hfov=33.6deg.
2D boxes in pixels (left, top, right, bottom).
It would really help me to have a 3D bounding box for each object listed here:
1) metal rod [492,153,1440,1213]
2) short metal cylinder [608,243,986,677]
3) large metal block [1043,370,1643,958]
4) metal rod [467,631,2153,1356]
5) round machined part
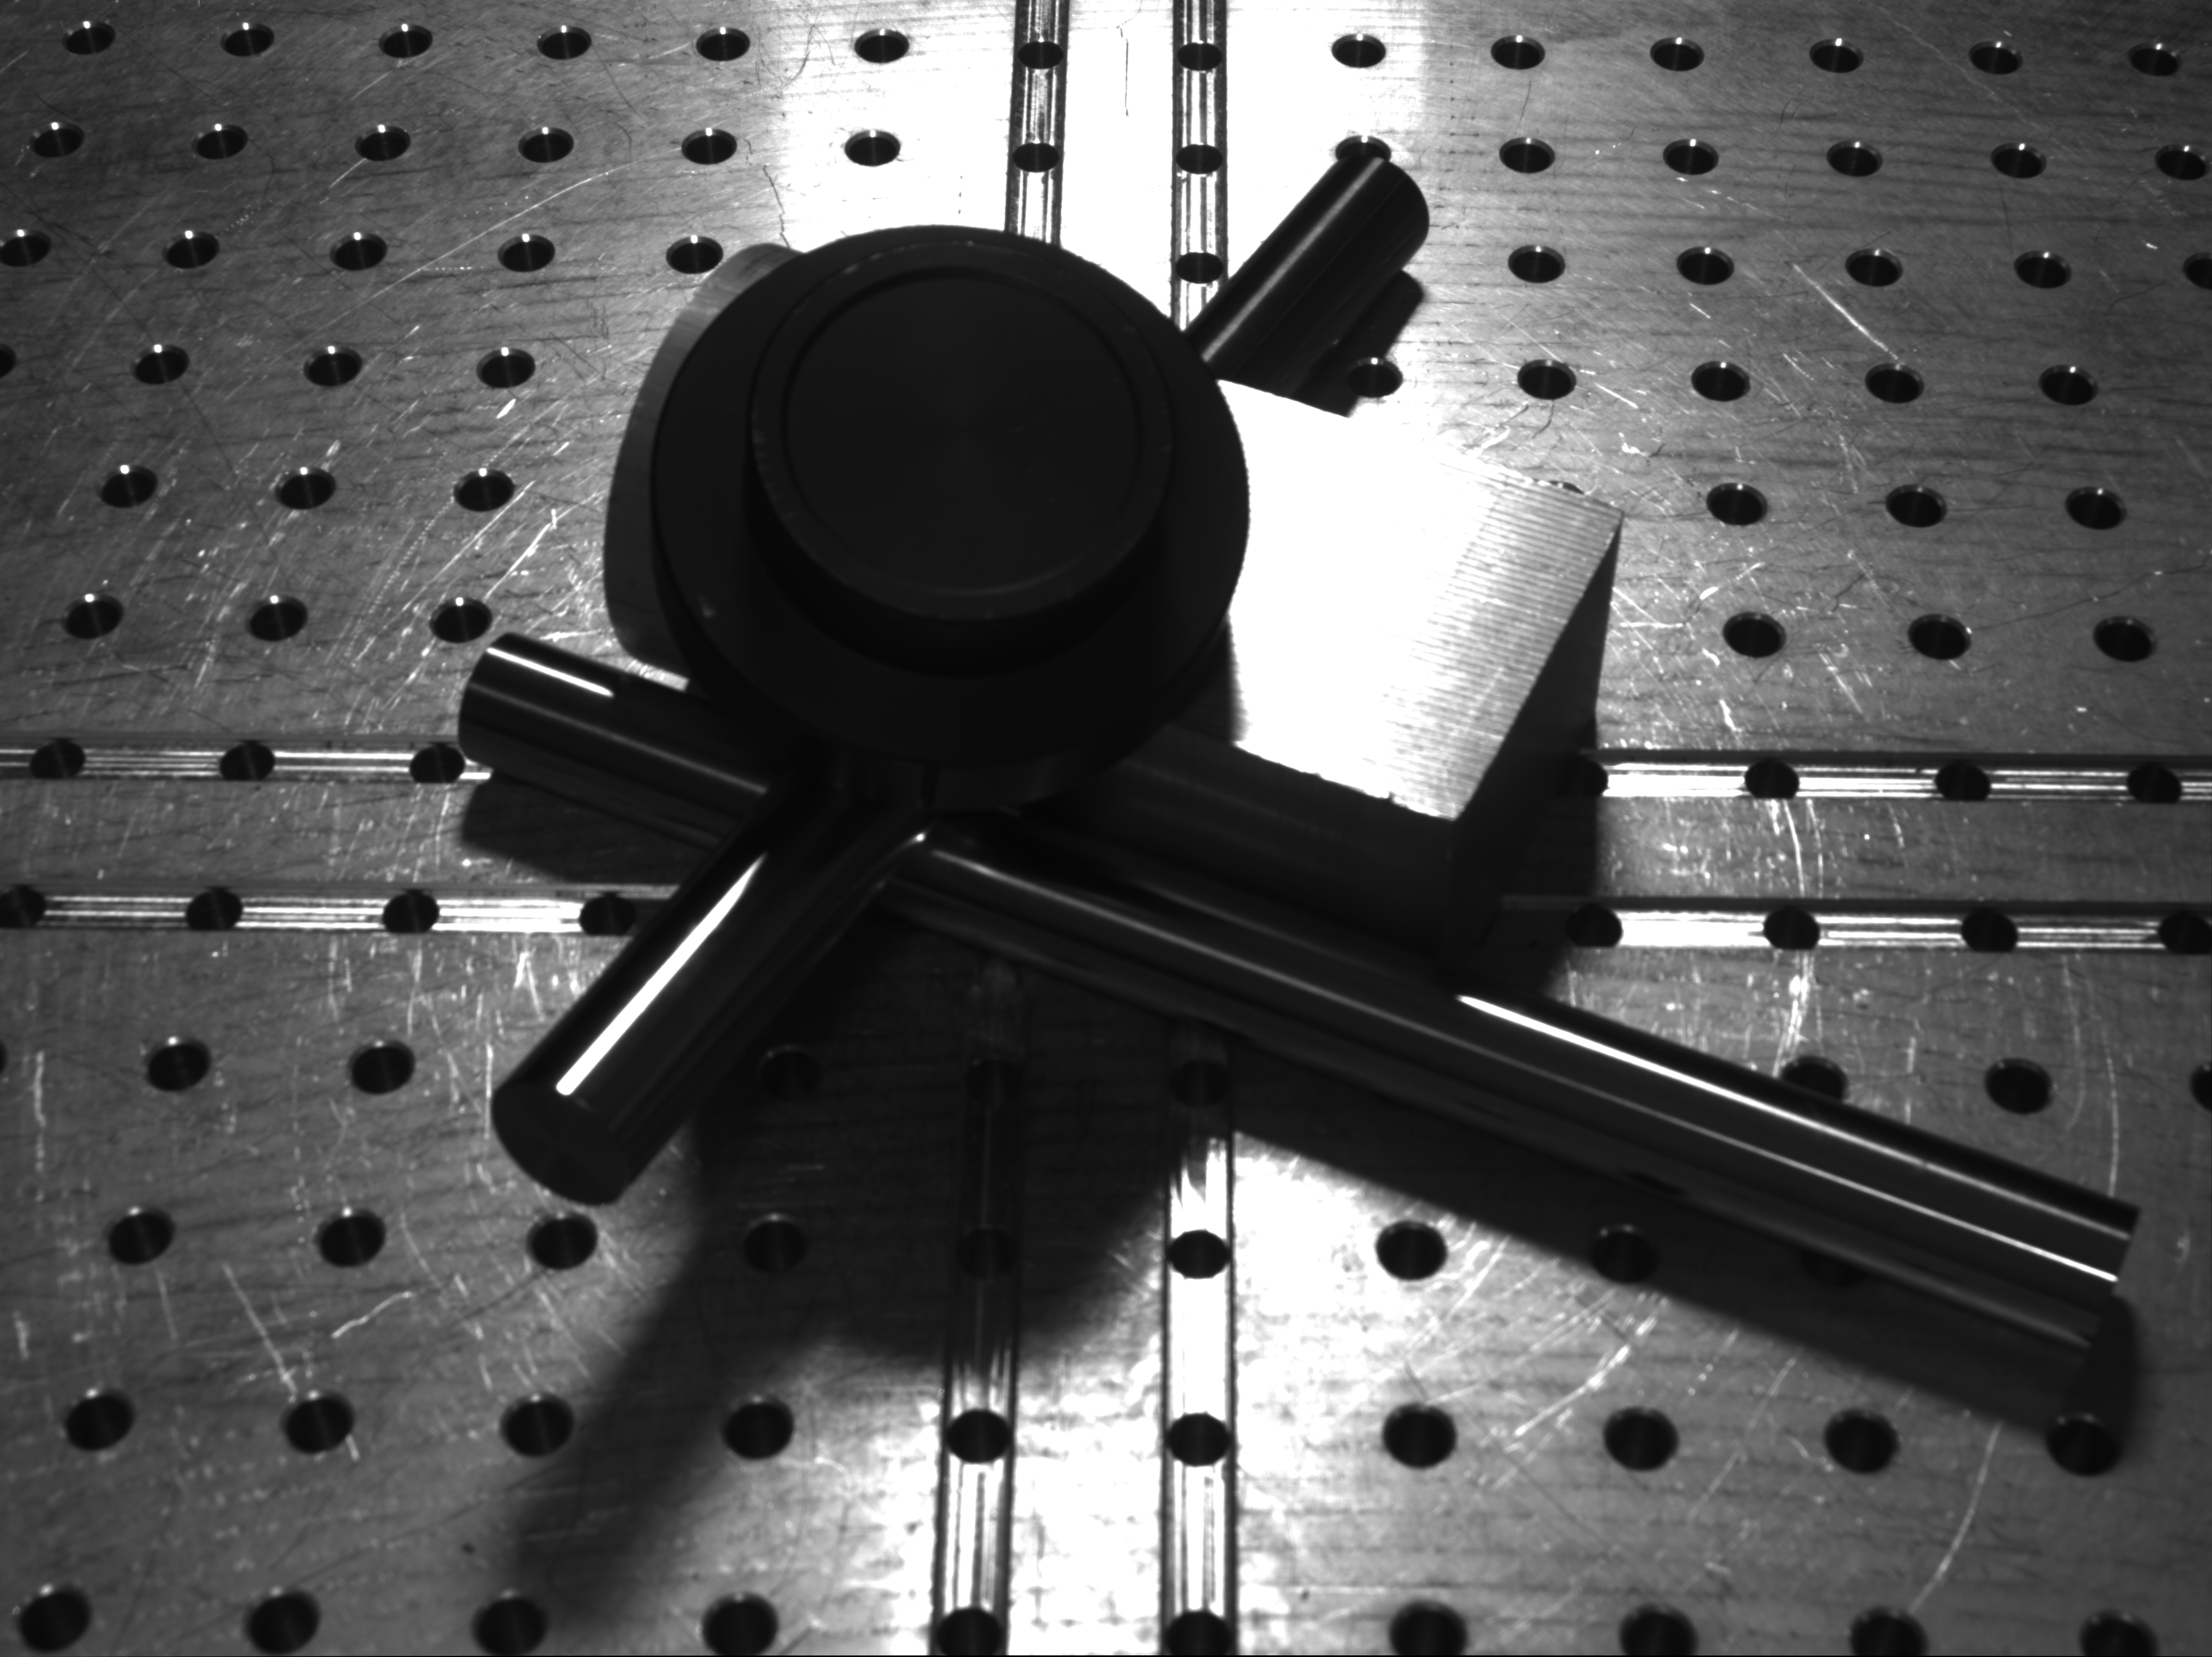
[{"bbox_3d":[-0.013,-0.040,0.653,0.025,0.025,0.300,22,46,18],"label":"metal rod"},{"bbox_3d":[-0.047,-0.060,0.659,0.050,0.080,0.080,20,53,16],"label":"short metal cylinder"},{"bbox_3d":[0.040,-0.026,0.646,0.080,0.050,0.080,20,53,16],"label":"large metal block"},{"bbox_3d":[0.027,0.024,0.624,0.300,0.025,0.025,19,53,16],"label":"metal rod"},{"bbox_3d":[-0.023,-0.056,0.595,0.098,0.042,0.098,2,70,-6],"label":"round machined part"}]
